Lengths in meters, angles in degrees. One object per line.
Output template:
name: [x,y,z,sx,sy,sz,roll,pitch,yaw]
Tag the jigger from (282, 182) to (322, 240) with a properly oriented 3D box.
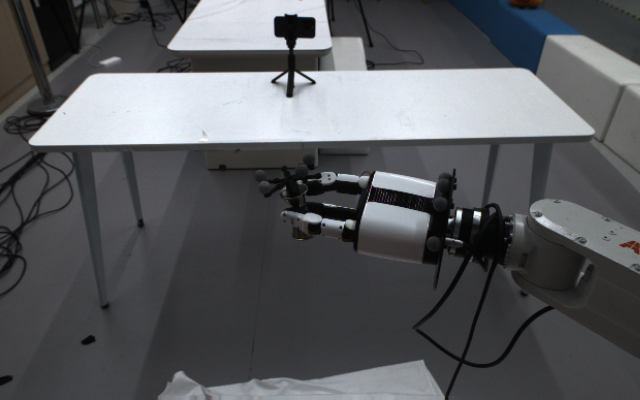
jigger: [-0.026,0.016,0.666,0.043,0.071,0.043,-12,29,7]
